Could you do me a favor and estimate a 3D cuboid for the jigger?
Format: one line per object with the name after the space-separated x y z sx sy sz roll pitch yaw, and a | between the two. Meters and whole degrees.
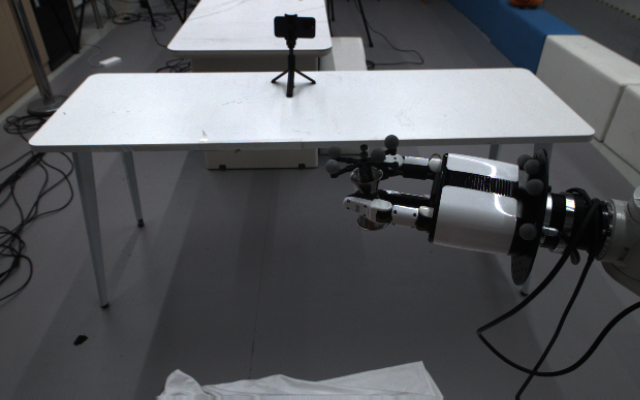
0.063 -0.002 0.601 0.043 0.071 0.043 -10 32 6 | jigger
